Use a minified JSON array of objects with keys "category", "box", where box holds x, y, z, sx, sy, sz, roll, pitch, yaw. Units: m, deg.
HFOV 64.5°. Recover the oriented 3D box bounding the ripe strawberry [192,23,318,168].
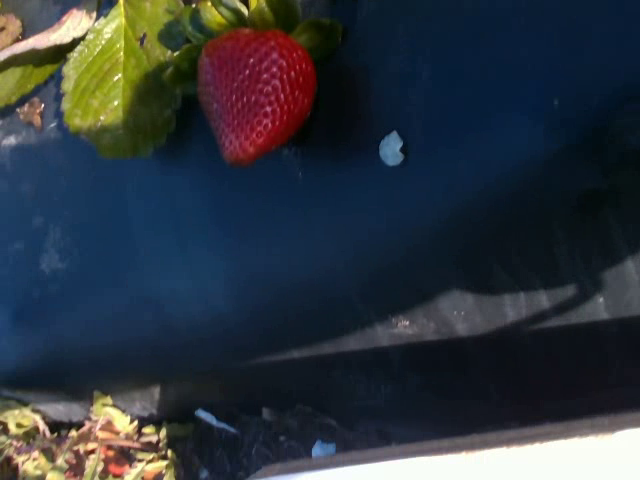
[{"category":"ripe strawberry","box":[-0.021,-0.041,0.154,0.045,0.055,0.042,-7,-36,15]}]
